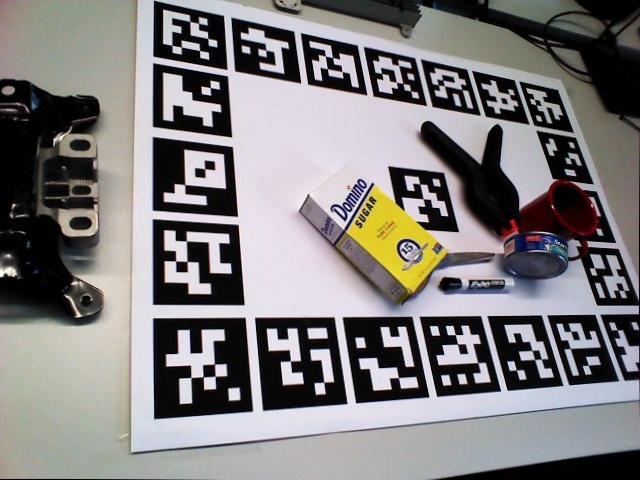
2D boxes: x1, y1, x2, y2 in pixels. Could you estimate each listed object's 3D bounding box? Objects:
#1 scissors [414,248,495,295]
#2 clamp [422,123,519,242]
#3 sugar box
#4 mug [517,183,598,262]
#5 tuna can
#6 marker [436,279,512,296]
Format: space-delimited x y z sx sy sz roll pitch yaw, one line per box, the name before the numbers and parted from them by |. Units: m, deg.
scissors | 0.167 0.024 0.710 0.202 0.016 0.087 -7 66 -29
clamp | 0.257 -0.094 0.811 0.165 0.037 0.202 -7 71 -27
sugar box | 0.073 -0.009 0.664 0.176 0.045 0.092 47 56 9
mug | 0.362 -0.017 0.787 0.093 0.082 0.117 -26 76 -32
tuna can | 0.315 0.026 0.740 0.086 0.086 0.033 19 60 -15
marker | 0.213 0.065 0.715 0.121 0.020 0.019 0 68 -24
